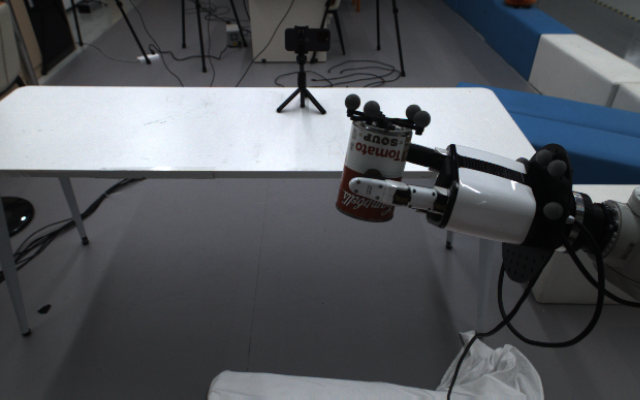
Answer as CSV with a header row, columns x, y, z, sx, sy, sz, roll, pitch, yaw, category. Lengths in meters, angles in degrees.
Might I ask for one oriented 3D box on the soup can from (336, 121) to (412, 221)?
x,y,z,sx,sy,sz,roll,pitch,yaw,category
0.061,-0.036,0.541,0.067,0.101,0.067,9,20,-3,soup can
